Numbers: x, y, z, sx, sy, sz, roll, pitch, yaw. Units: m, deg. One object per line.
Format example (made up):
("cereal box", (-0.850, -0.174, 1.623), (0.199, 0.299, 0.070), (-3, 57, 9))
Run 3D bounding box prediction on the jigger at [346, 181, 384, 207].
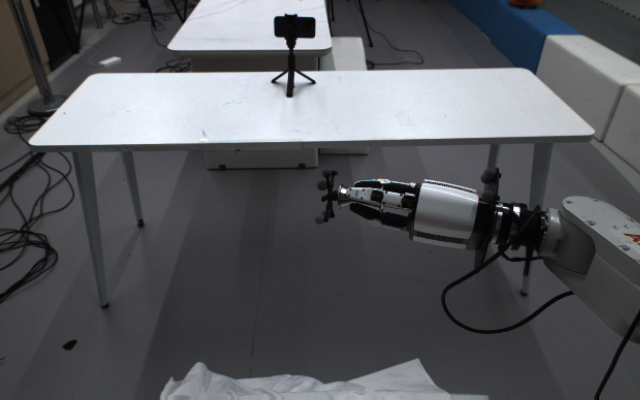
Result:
("jigger", (0.071, -0.007, 0.757), (0.071, 0.043, 0.043), (4, 34, 14))
